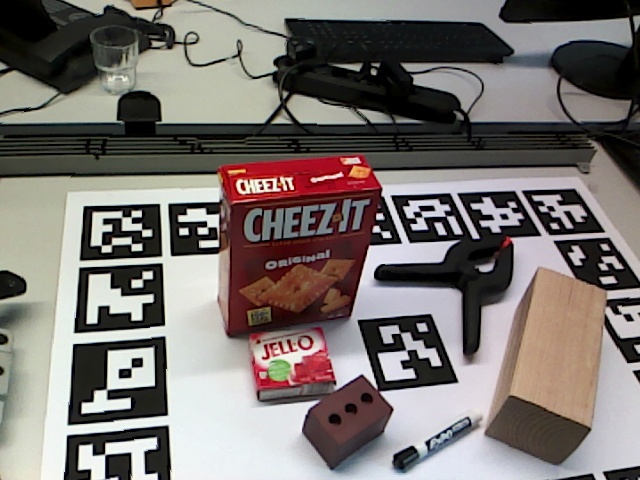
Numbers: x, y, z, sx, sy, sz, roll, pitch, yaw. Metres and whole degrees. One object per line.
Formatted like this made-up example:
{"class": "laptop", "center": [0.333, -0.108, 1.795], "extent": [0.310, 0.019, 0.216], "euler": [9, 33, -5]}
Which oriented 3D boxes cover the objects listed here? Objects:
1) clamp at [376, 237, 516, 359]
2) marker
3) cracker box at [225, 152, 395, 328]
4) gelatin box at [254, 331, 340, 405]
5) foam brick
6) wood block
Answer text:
{"class": "clamp", "center": [0.199, 0.052, 0.834], "extent": [0.202, 0.036, 0.166], "euler": [-30, 59, -31]}
{"class": "marker", "center": [0.120, 0.223, 0.672], "extent": [0.120, 0.019, 0.020], "euler": [-20, 56, -25]}
{"class": "cracker box", "center": [-0.021, 0.005, 0.712], "extent": [0.163, 0.213, 0.072], "euler": [-5, 48, -17]}
{"class": "gelatin box", "center": [-0.028, 0.146, 0.716], "extent": [0.089, 0.030, 0.073], "euler": [-4, 50, -13]}
{"class": "foam brick", "center": [0.029, 0.196, 0.661], "extent": [0.078, 0.051, 0.053], "euler": [-24, 58, -28]}
{"class": "wood block", "center": [0.269, 0.145, 0.728], "extent": [0.090, 0.091, 0.206], "euler": [21, 45, 13]}
